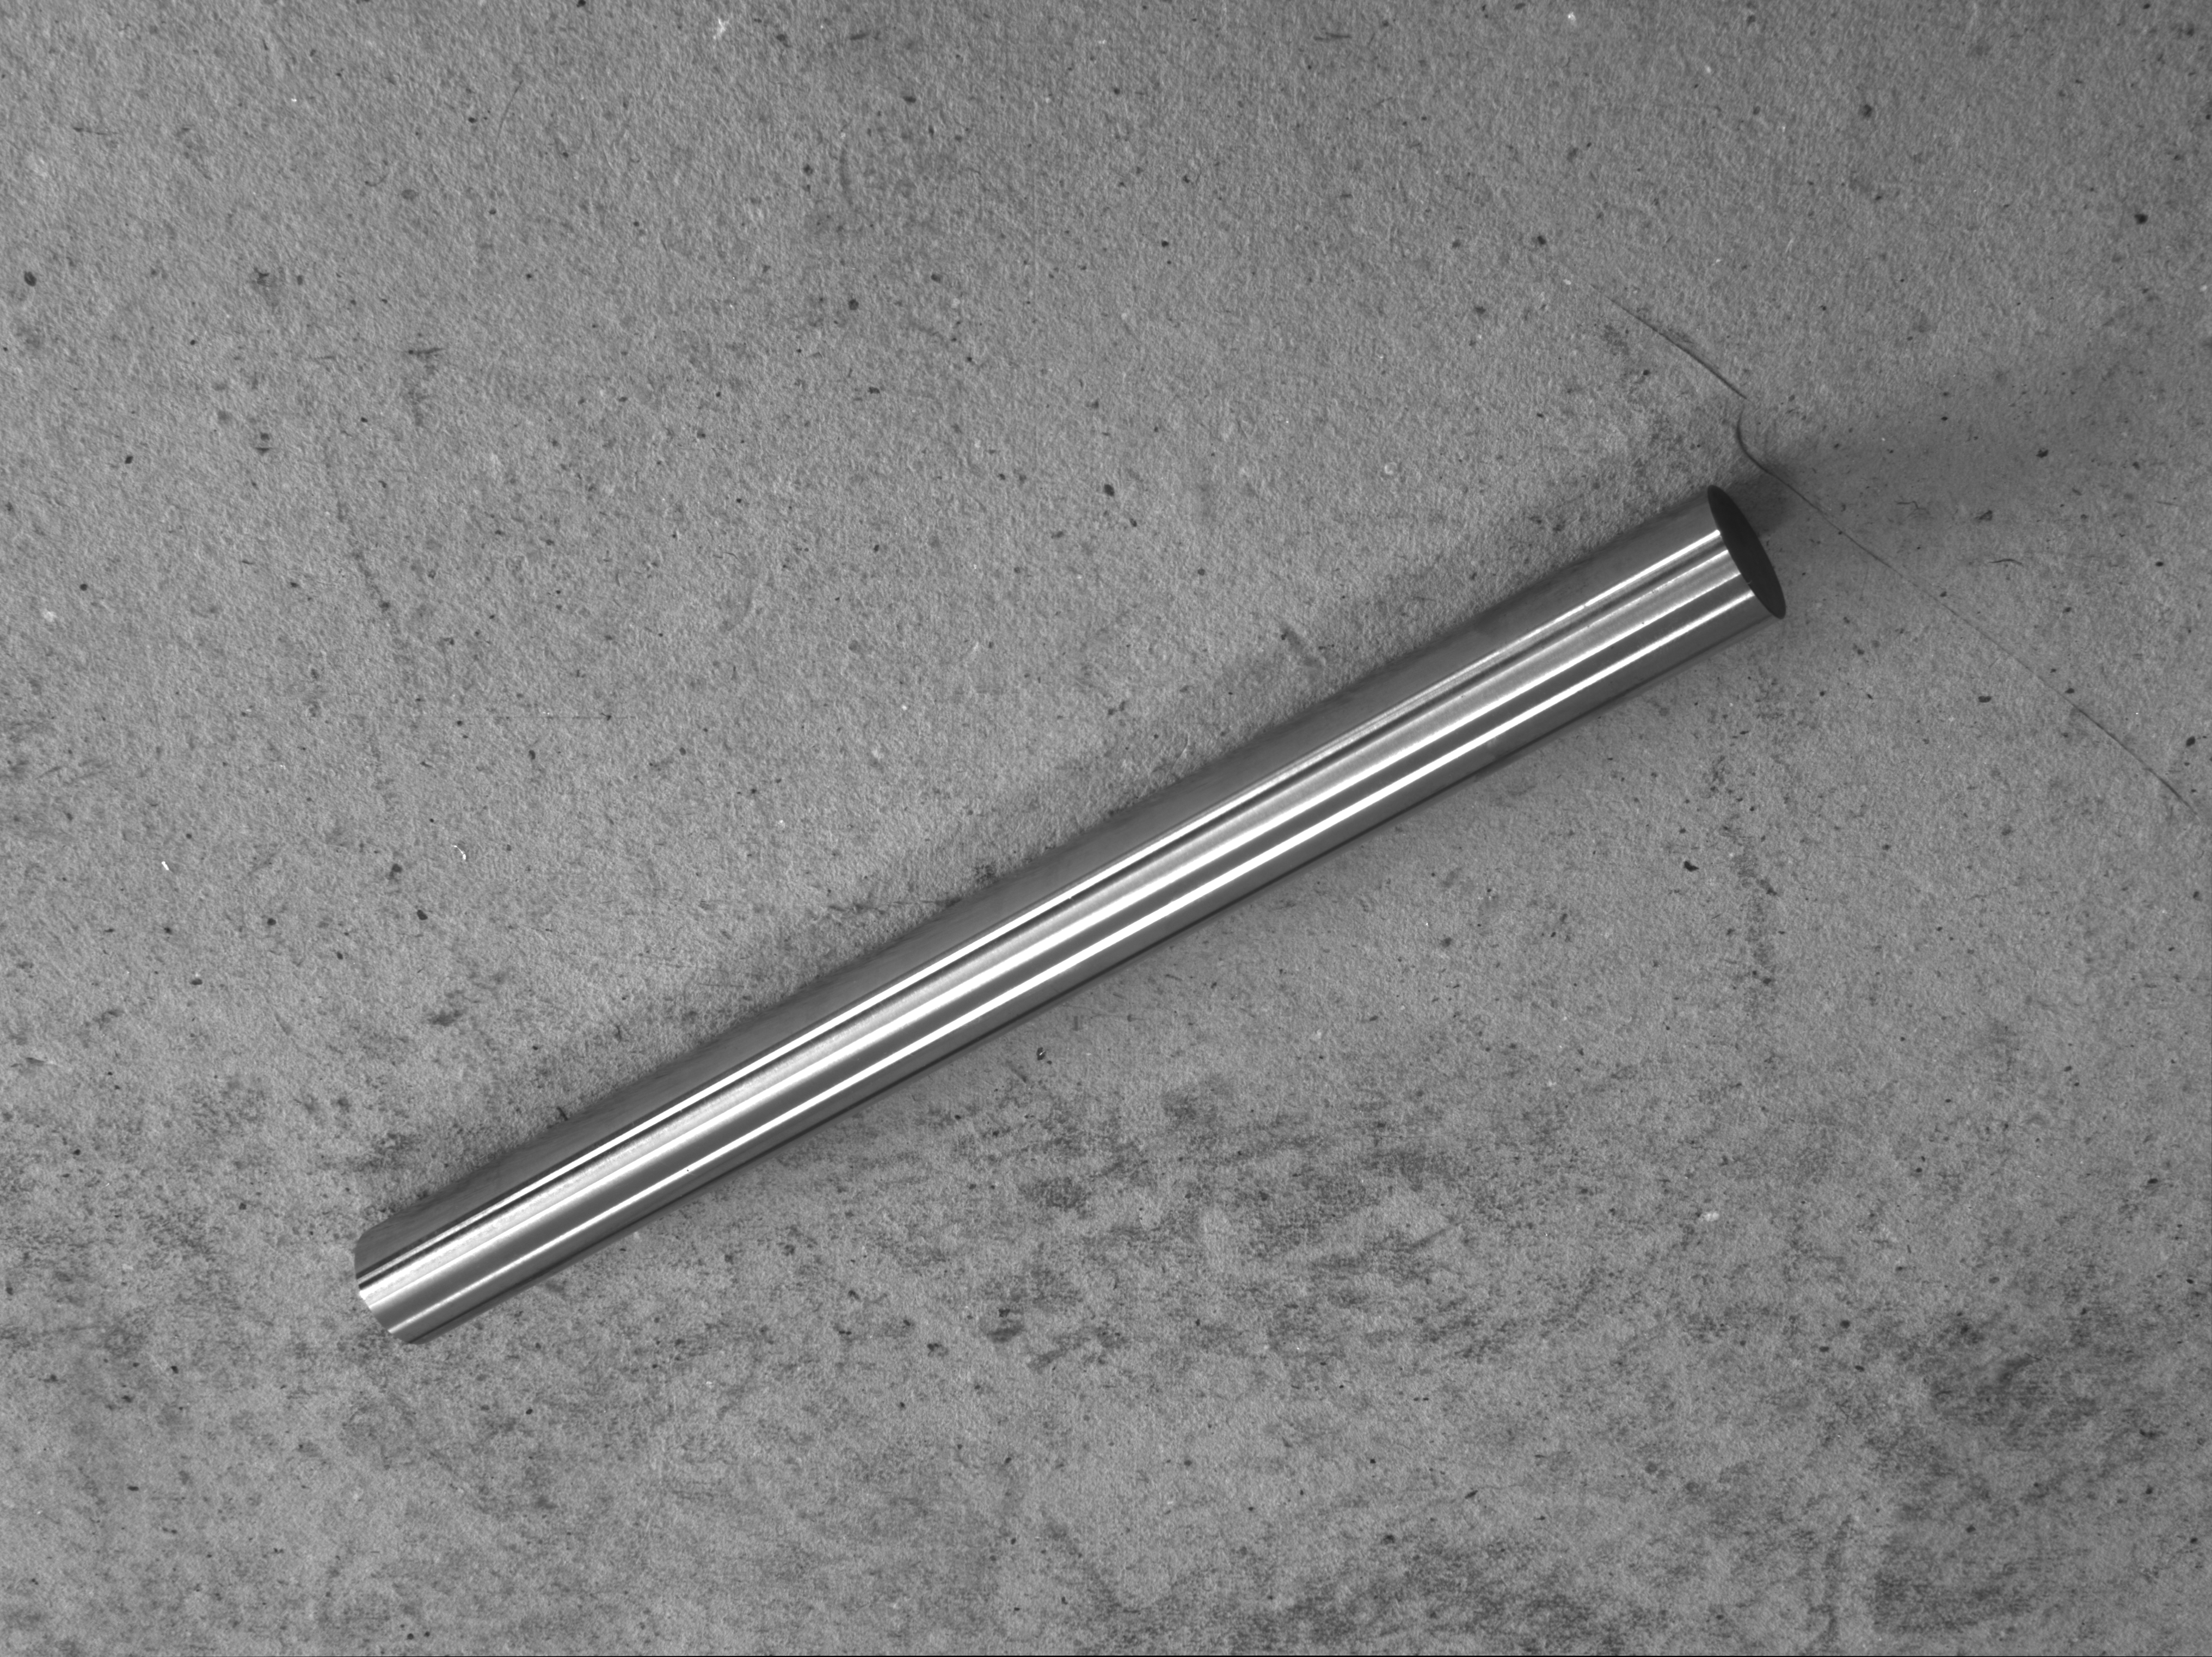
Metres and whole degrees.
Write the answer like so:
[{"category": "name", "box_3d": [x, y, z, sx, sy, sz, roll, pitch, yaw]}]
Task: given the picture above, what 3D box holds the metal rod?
[{"category": "metal rod", "box_3d": [-0.017, 0.022, 0.659, 0.299, 0.025, 0.025, -29, 124, 22]}]
